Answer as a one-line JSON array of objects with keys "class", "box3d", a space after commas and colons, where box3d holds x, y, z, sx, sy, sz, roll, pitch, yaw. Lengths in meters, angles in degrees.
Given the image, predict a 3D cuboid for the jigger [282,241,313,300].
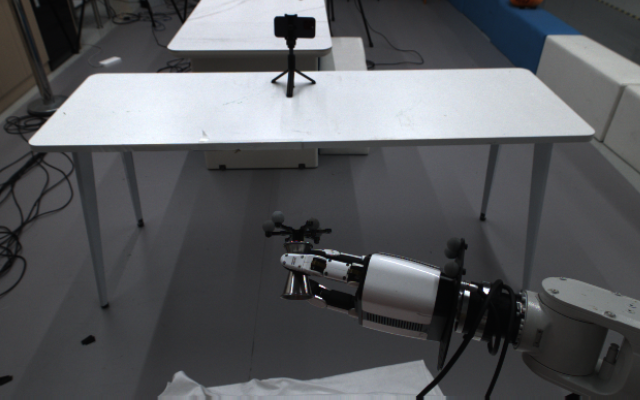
[{"class": "jigger", "box3d": [-0.028, 0.089, 0.617, 0.043, 0.043, 0.071, 0, 70, -2]}]
